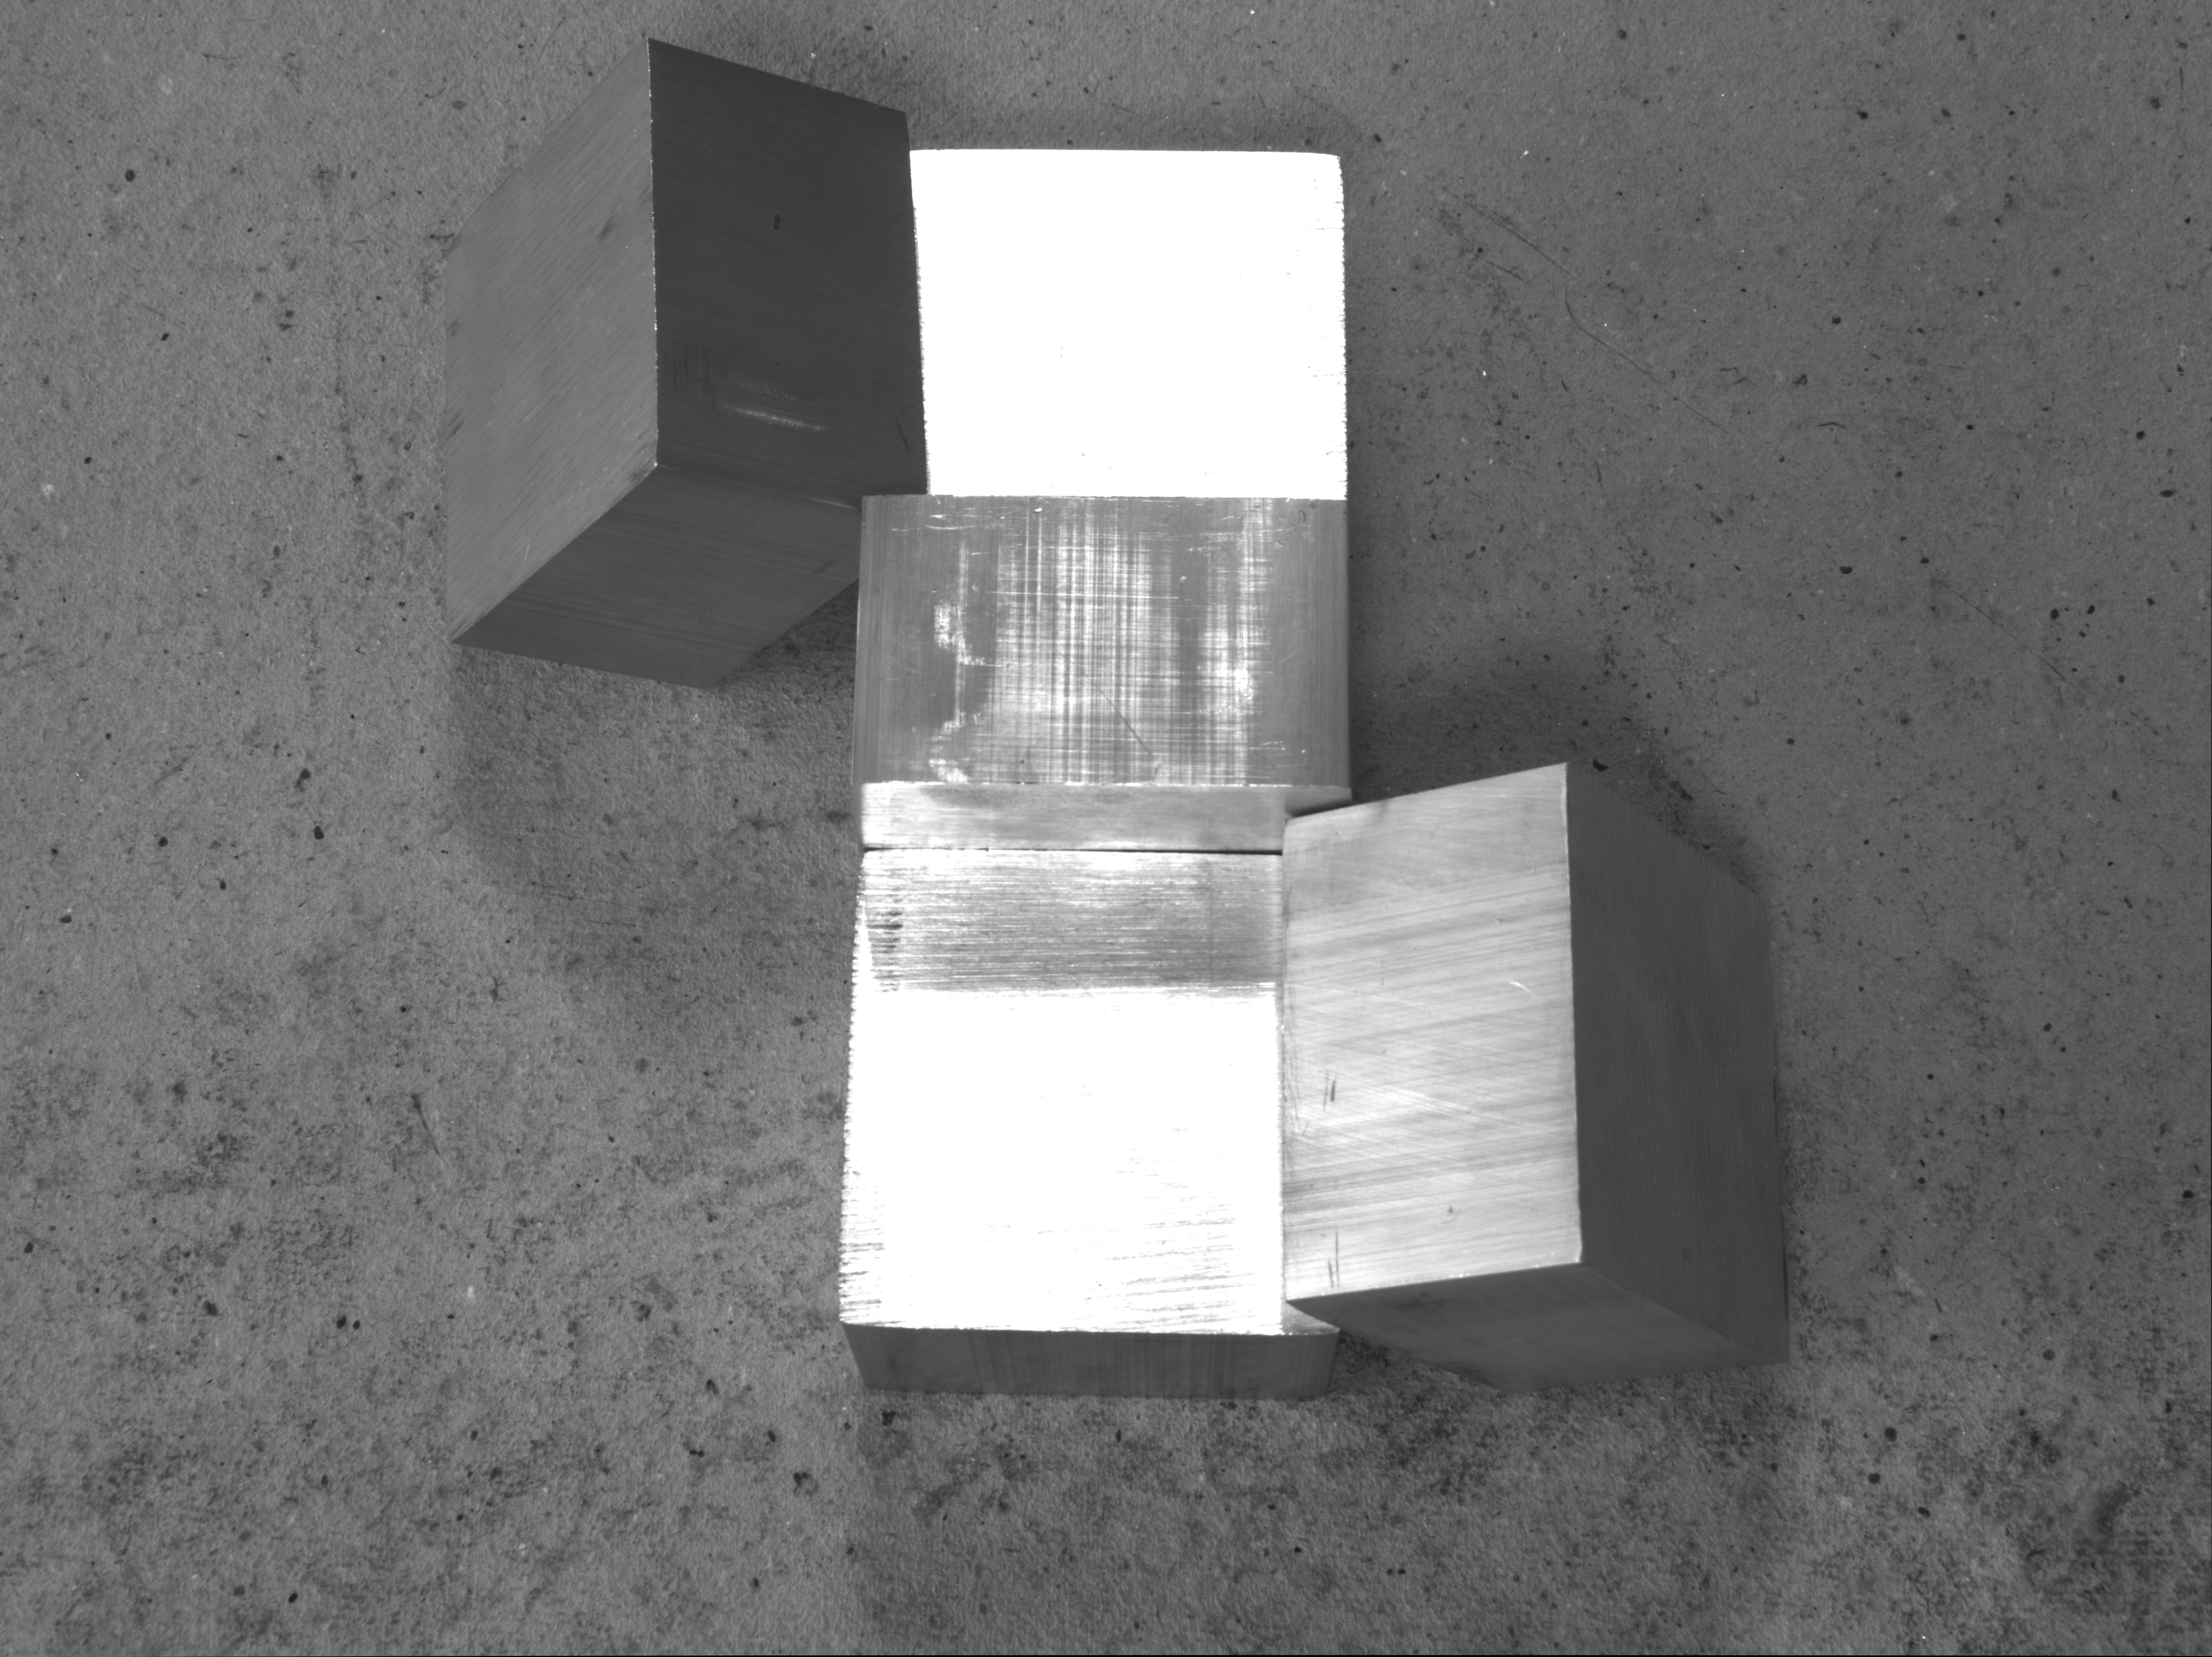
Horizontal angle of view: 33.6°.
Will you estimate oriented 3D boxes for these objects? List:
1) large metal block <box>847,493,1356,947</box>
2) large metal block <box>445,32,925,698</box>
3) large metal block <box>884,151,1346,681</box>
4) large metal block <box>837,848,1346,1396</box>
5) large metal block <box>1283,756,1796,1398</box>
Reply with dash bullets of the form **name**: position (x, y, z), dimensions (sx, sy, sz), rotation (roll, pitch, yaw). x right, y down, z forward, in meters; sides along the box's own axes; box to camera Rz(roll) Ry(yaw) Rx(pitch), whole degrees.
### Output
- **large metal block**: position (0.000, -0.017, 0.622), dimensions (0.080, 0.080, 0.050), rotation (0, 70, 0)
- **large metal block**: position (-0.075, -0.078, 0.637), dimensions (0.050, 0.080, 0.080), rotation (10, 66, -33)
- **large metal block**: position (0.001, -0.073, 0.657), dimensions (0.080, 0.050, 0.080), rotation (0, 69, 1)
- **large metal block**: position (-0.001, 0.050, 0.613), dimensions (0.080, 0.050, 0.080), rotation (1, 71, 1)
- **large metal block**: position (0.070, 0.043, 0.592), dimensions (0.050, 0.080, 0.080), rotation (-12, 66, 30)
